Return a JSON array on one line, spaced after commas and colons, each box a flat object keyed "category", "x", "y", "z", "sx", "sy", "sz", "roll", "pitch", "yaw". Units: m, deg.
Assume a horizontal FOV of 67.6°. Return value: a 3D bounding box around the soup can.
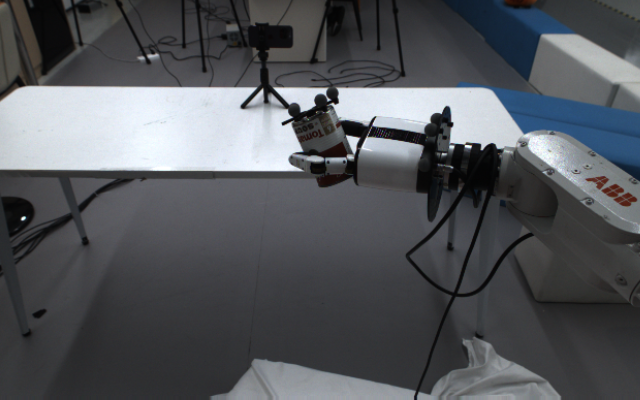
[{"category": "soup can", "x": 0.010, "y": -0.079, "z": 0.708, "sx": 0.067, "sy": 0.101, "sz": 0.067, "roll": -23, "pitch": 16, "yaw": 7}]
